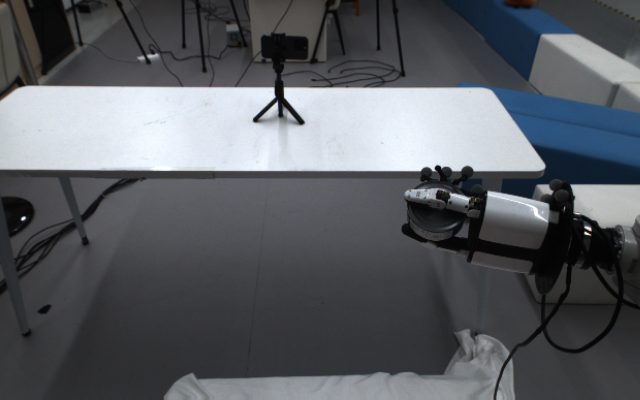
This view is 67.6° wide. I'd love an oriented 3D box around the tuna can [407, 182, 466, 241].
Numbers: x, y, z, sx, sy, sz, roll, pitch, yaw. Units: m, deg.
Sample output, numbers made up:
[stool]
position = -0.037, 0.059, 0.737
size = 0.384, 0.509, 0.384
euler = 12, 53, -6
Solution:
[tuna can]
position = 0.170, 0.011, 0.706
size = 0.085, 0.034, 0.085
euler = -4, 55, 6
